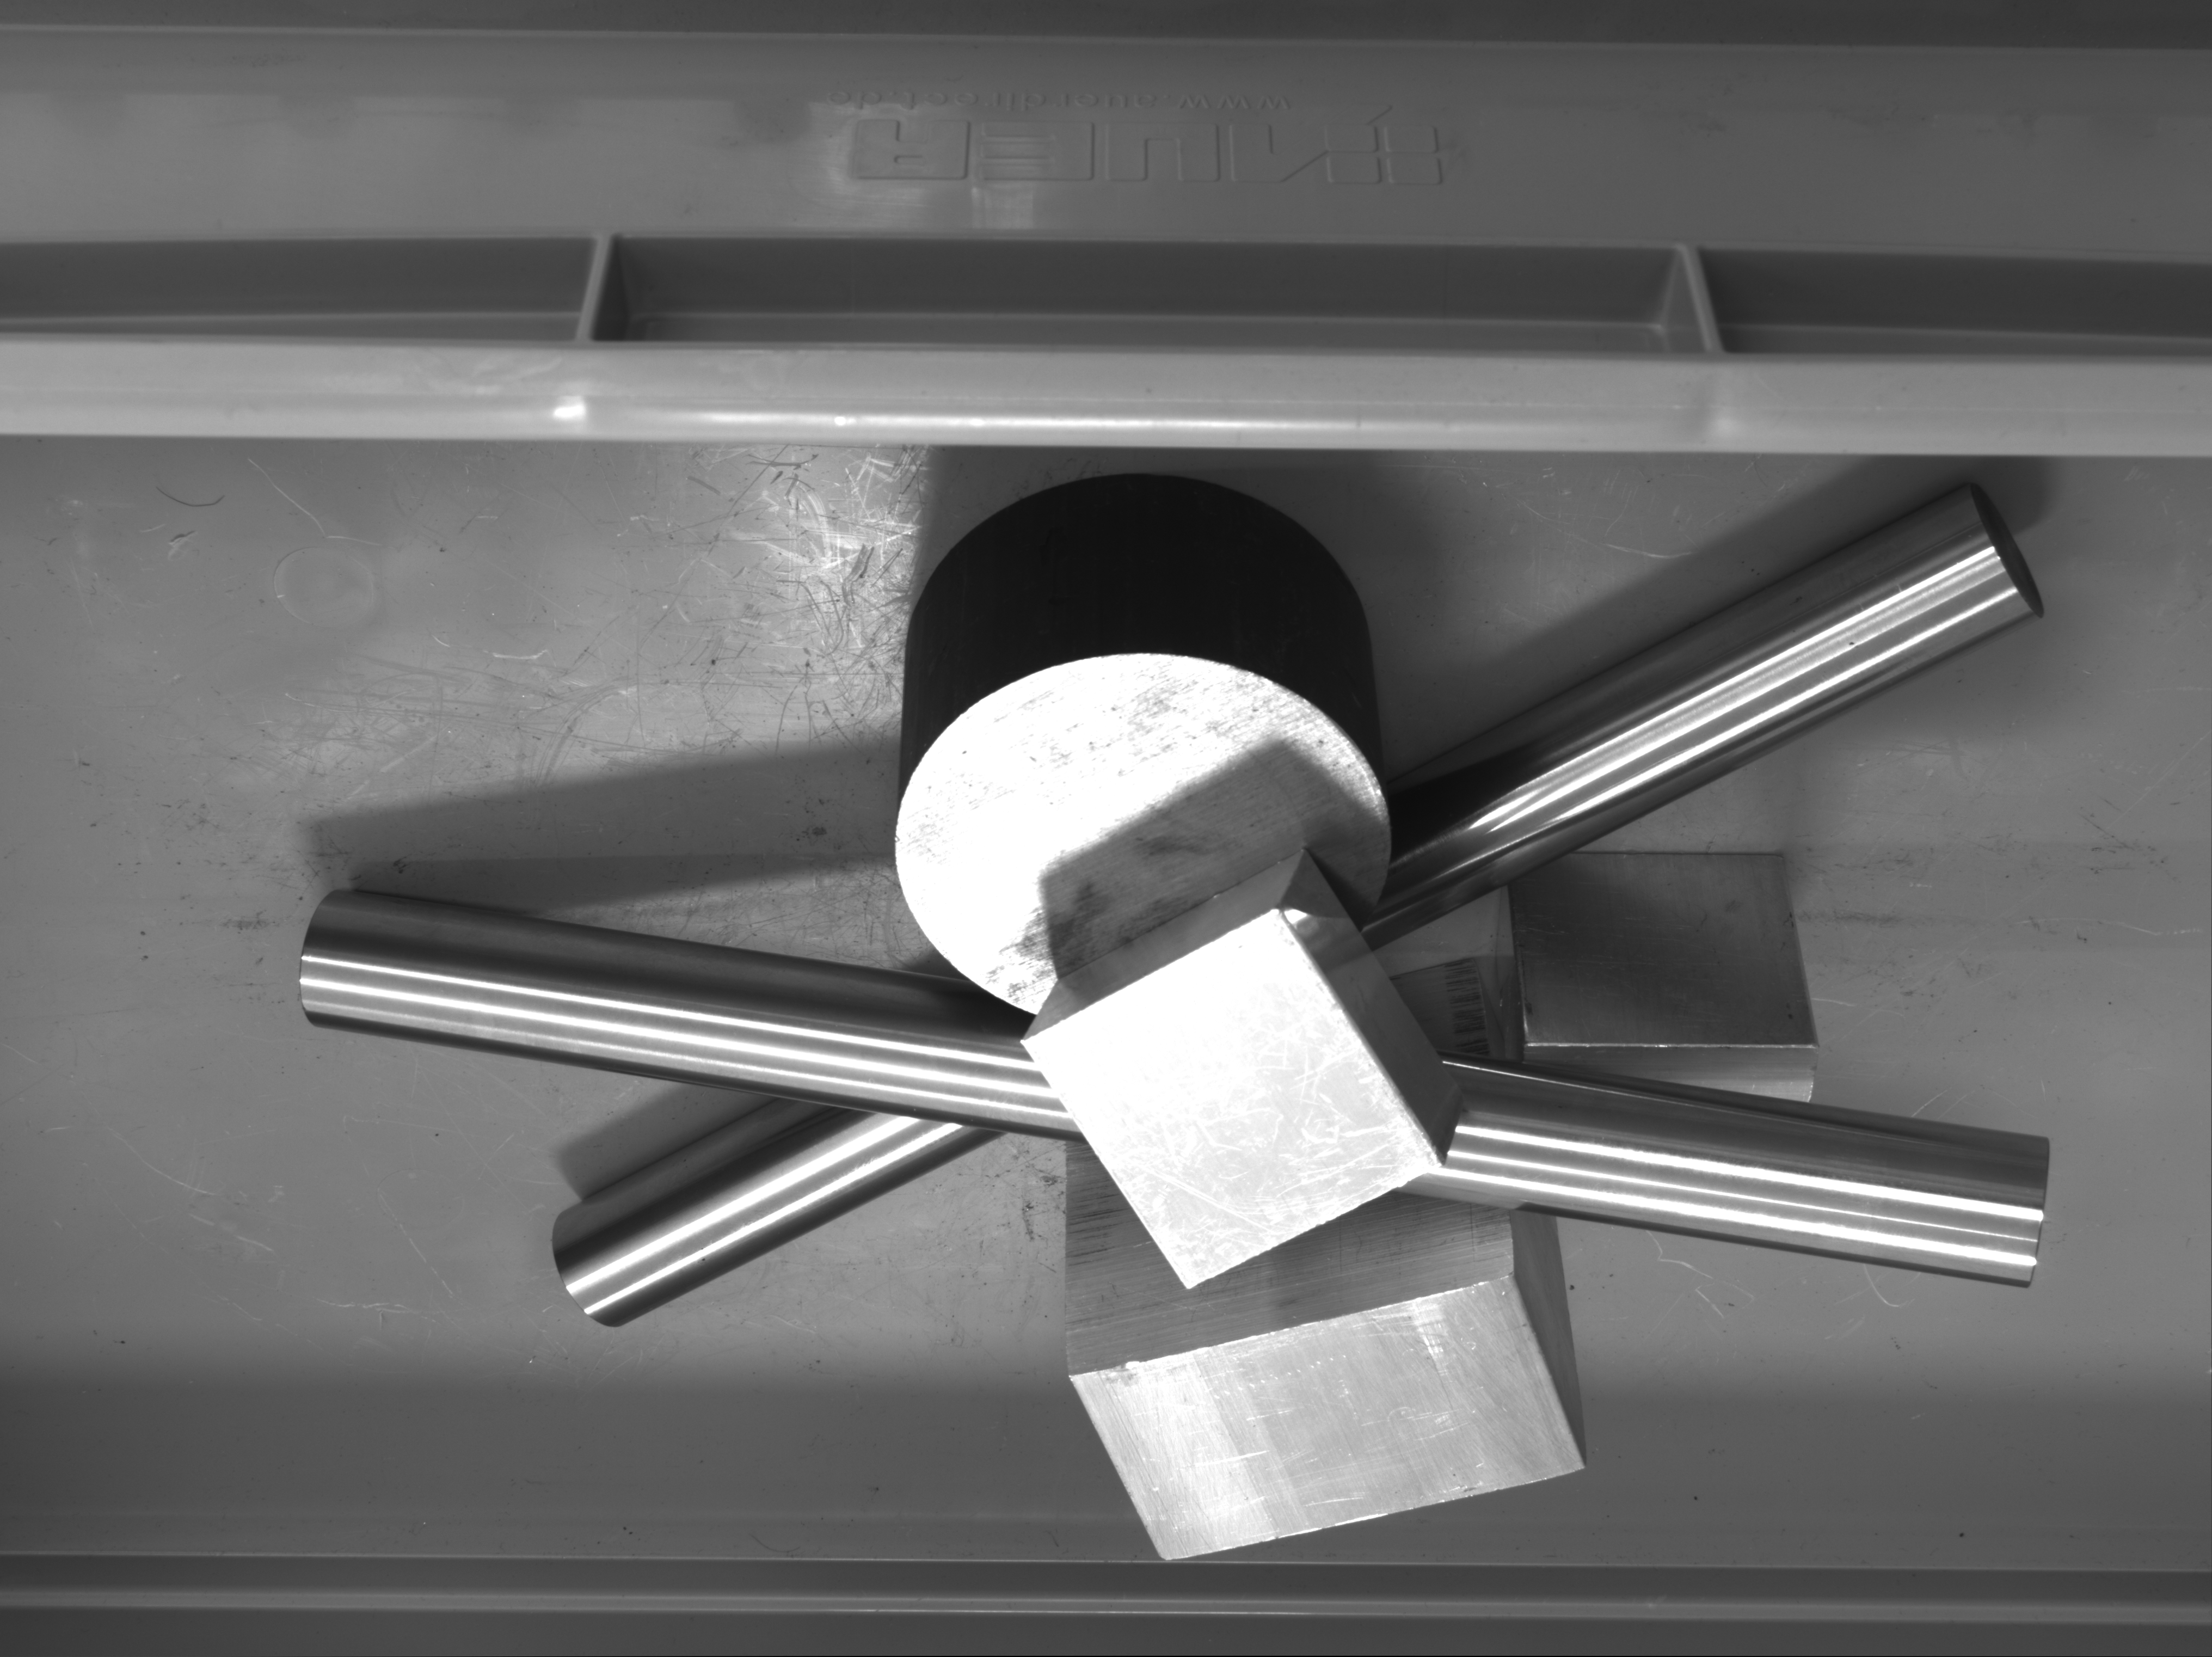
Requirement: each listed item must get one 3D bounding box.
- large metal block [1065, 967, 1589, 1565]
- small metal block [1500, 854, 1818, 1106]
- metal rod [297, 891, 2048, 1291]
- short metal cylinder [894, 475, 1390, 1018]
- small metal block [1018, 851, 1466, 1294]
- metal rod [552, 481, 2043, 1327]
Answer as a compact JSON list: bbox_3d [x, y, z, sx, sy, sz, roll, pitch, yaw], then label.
[{"bbox_3d":[0.039,0.079,0.667,0.080,0.080,0.050,-14,128,12],"label":"large metal block"},{"bbox_3d":[0.096,0.030,0.648,0.050,0.050,0.025,1,130,1],"label":"small metal block"},{"bbox_3d":[0.007,0.043,0.629,0.300,0.025,0.025,8,131,11],"label":"metal rod"},{"bbox_3d":[0.006,-0.012,0.612,0.080,0.050,0.080,0,129,0],"label":"short metal cylinder"},{"bbox_3d":[0.023,0.040,0.595,0.050,0.025,0.050,-29,102,22],"label":"small metal block"},{"bbox_3d":[0.024,0.020,0.656,0.299,0.025,0.025,-28,125,21],"label":"metal rod"}]
